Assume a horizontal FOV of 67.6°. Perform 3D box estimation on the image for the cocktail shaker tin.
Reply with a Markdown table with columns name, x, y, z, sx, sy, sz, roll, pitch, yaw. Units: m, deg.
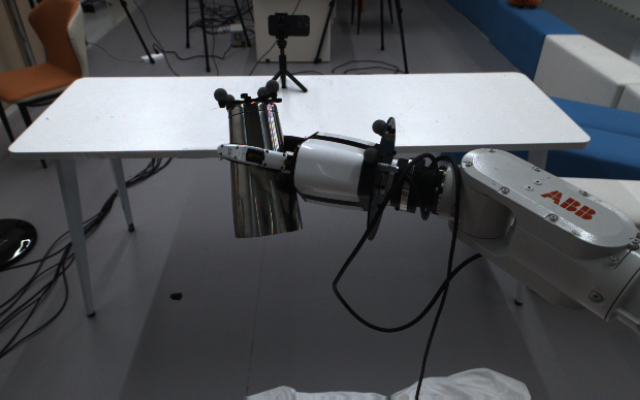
| name | x | y | z | sx | sy | sz | roll | pitch | yaw |
| --- | --- | --- | --- | --- | --- | --- | --- | --- | --- |
| cocktail shaker tin | -0.080 | -0.039 | 0.650 | 0.093 | 0.170 | 0.093 | -8 | 1 | 0 |
